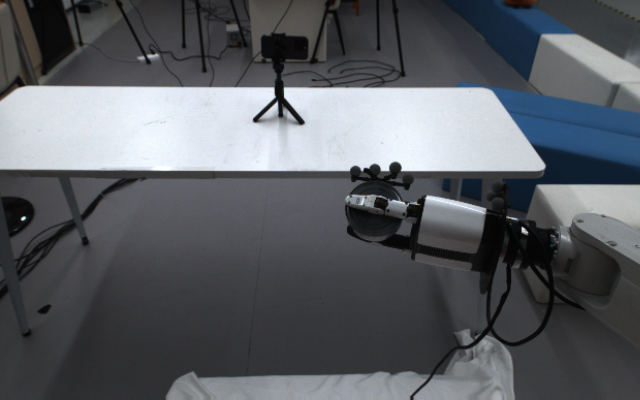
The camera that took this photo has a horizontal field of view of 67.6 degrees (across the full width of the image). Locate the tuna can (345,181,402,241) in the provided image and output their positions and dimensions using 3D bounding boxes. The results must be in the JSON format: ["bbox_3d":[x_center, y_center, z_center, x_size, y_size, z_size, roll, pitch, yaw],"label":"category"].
[{"bbox_3d":[0.081,0.013,0.709,0.085,0.034,0.085,-3,68,7],"label":"tuna can"}]
